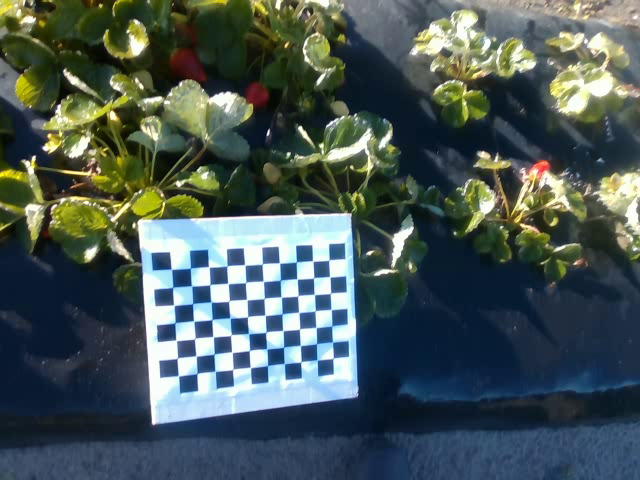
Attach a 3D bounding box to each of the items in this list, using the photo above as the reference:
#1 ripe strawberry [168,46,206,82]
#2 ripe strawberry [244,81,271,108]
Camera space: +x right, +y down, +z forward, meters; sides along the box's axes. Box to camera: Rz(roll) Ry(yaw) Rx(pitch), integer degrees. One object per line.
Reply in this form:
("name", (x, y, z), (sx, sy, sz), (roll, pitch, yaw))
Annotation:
("ripe strawberry", (-0.174, -0.235, 0.834), (0.044, 0.056, 0.040), (-46, 12, -19))
("ripe strawberry", (-0.088, -0.198, 0.849), (0.039, 0.047, 0.040), (37, -28, -15))
